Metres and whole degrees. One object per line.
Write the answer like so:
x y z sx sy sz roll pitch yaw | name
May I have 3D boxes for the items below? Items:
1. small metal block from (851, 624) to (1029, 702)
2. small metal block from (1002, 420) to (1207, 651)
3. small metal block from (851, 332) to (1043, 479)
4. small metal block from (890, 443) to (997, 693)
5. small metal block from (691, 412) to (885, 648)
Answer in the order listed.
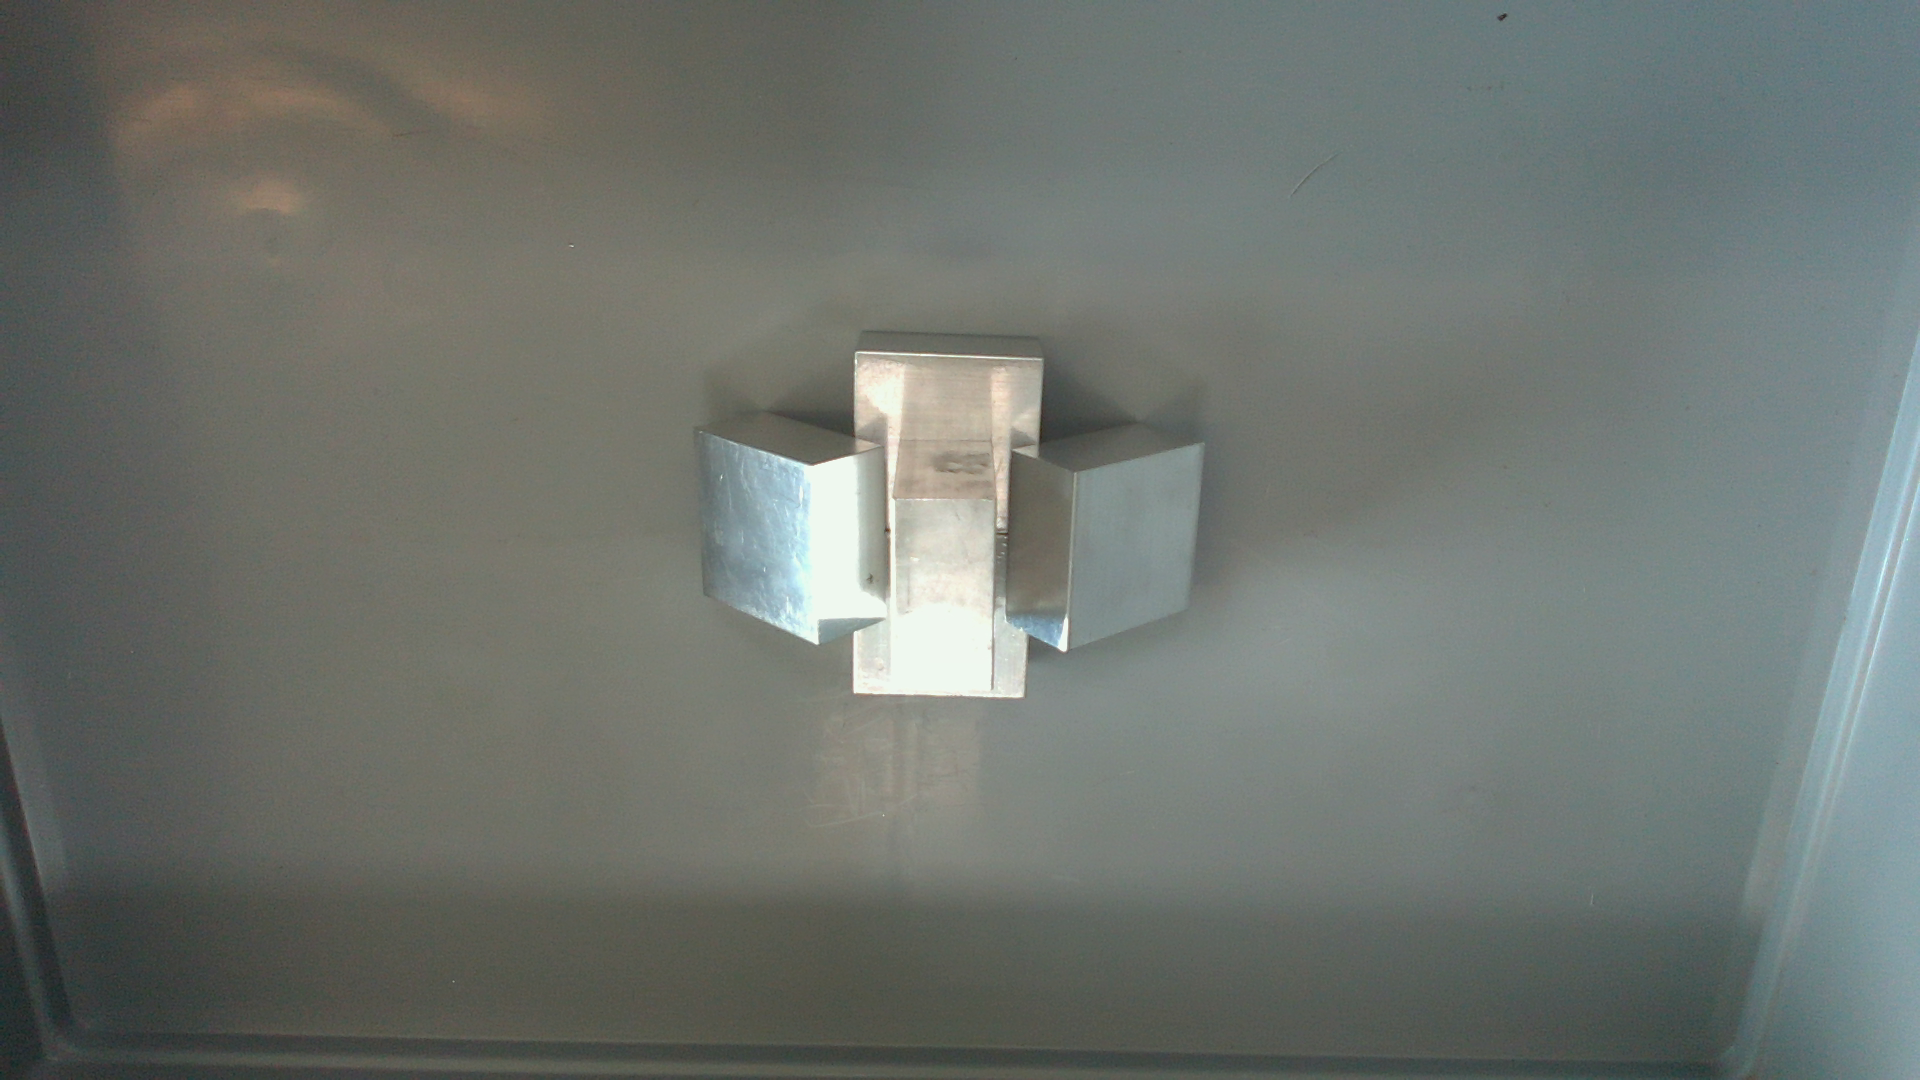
-0.005 0.018 0.399 0.050 0.025 0.050 2 110 -1 | small metal block
0.040 -0.003 0.379 0.050 0.025 0.050 -15 116 -37 | small metal block
-0.004 -0.030 0.381 0.050 0.025 0.050 2 110 -2 | small metal block
-0.004 0.006 0.354 0.025 0.050 0.050 0 110 -1 | small metal block
-0.047 -0.004 0.376 0.050 0.025 0.050 19 117 40 | small metal block
